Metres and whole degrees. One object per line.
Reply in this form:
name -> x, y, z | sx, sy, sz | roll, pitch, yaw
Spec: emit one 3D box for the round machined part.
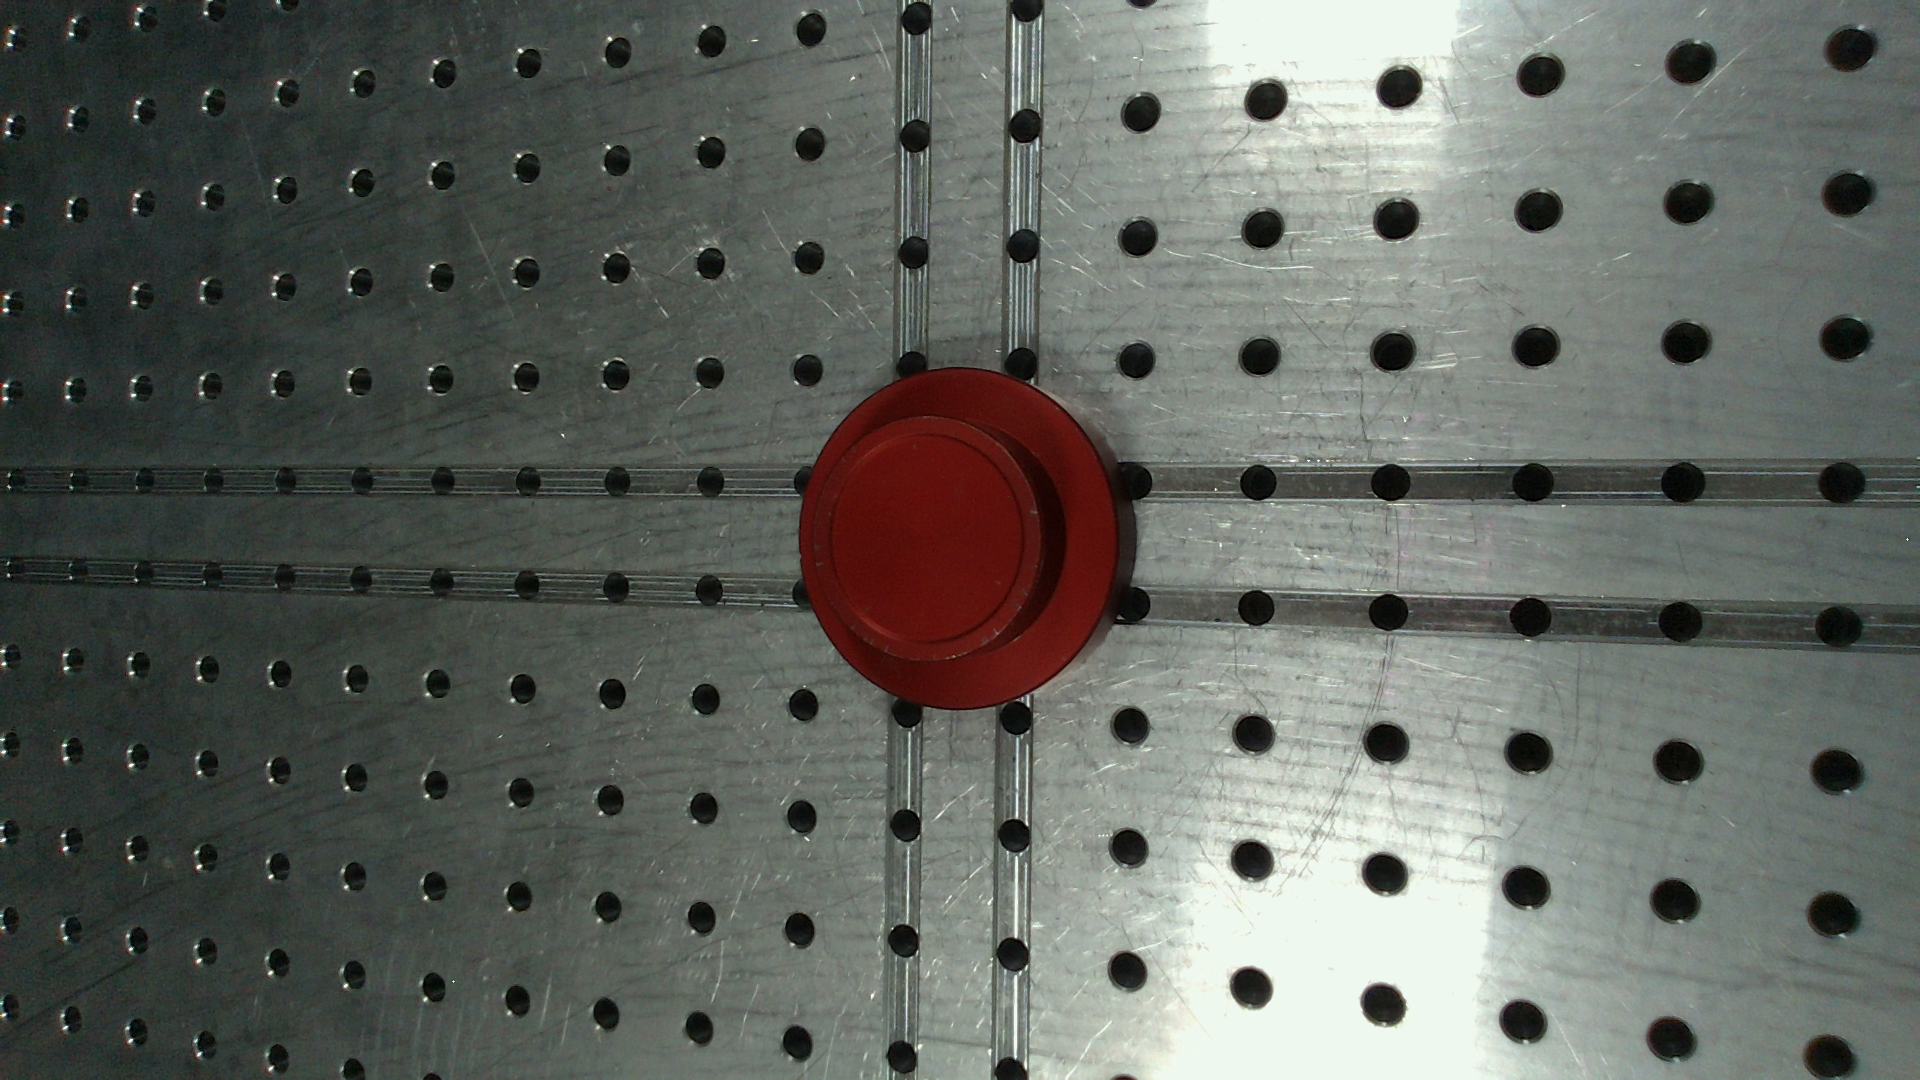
round machined part -> -0.003, 0.000, 0.390 | 0.098, 0.042, 0.098 | 0, 90, 20
